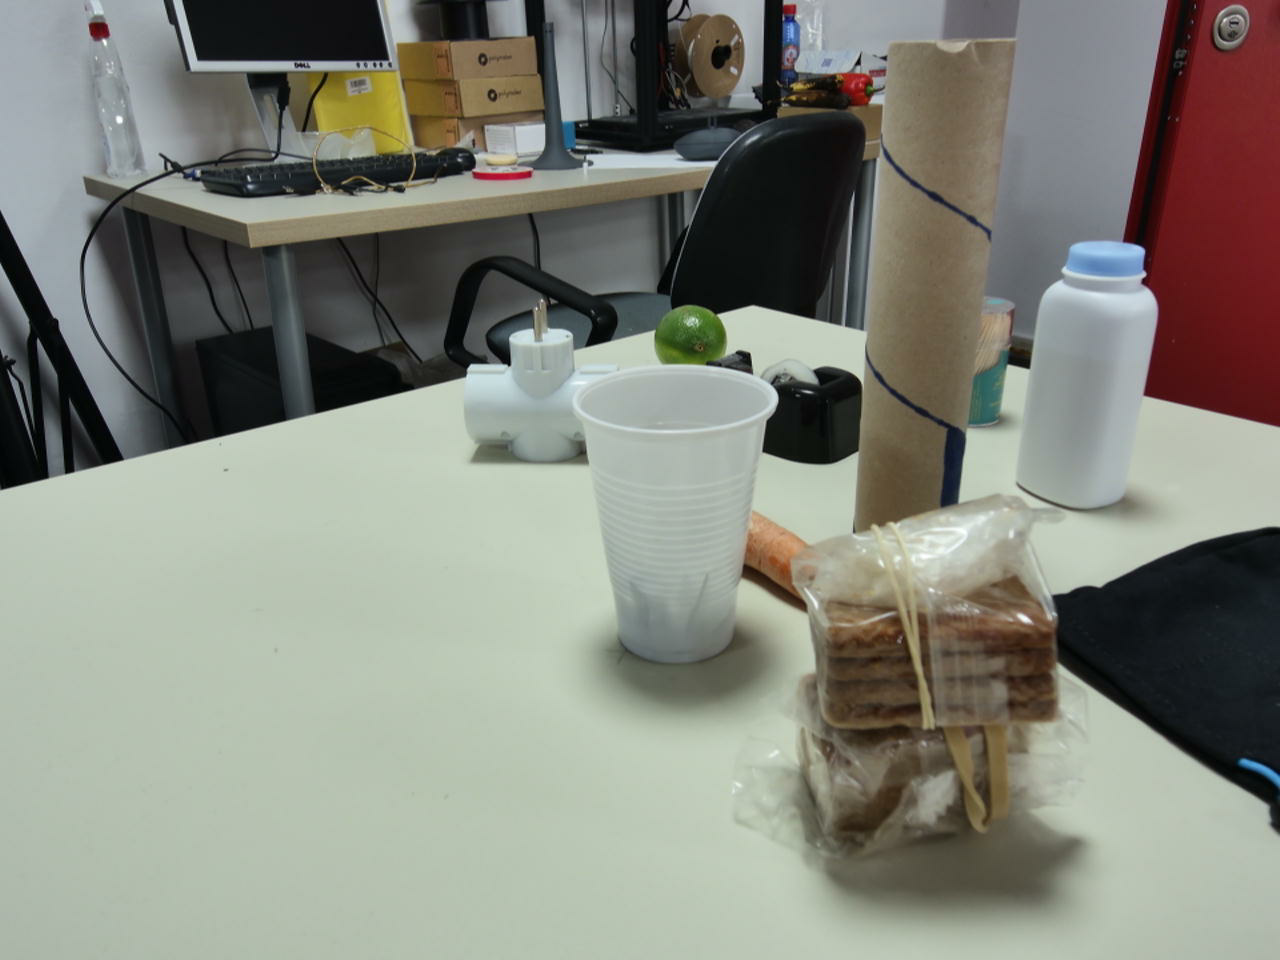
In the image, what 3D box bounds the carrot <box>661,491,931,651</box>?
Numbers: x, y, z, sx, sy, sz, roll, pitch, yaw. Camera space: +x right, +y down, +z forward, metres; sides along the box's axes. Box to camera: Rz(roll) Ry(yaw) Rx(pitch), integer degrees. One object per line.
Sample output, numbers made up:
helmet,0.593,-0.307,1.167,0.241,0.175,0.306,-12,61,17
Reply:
carrot,0.067,0.036,0.455,0.031,0.029,0.163,-16,28,-36
